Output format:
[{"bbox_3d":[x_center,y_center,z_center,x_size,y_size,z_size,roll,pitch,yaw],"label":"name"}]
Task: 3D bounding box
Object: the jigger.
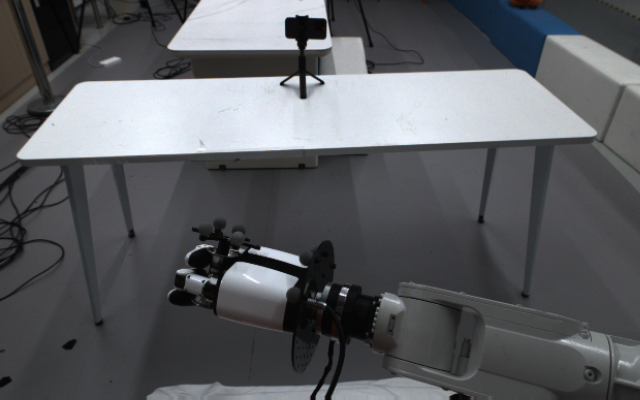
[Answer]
[{"bbox_3d":[-0.130,0.097,0.606,0.043,0.071,0.043,17,2,-1],"label":"jigger"}]
